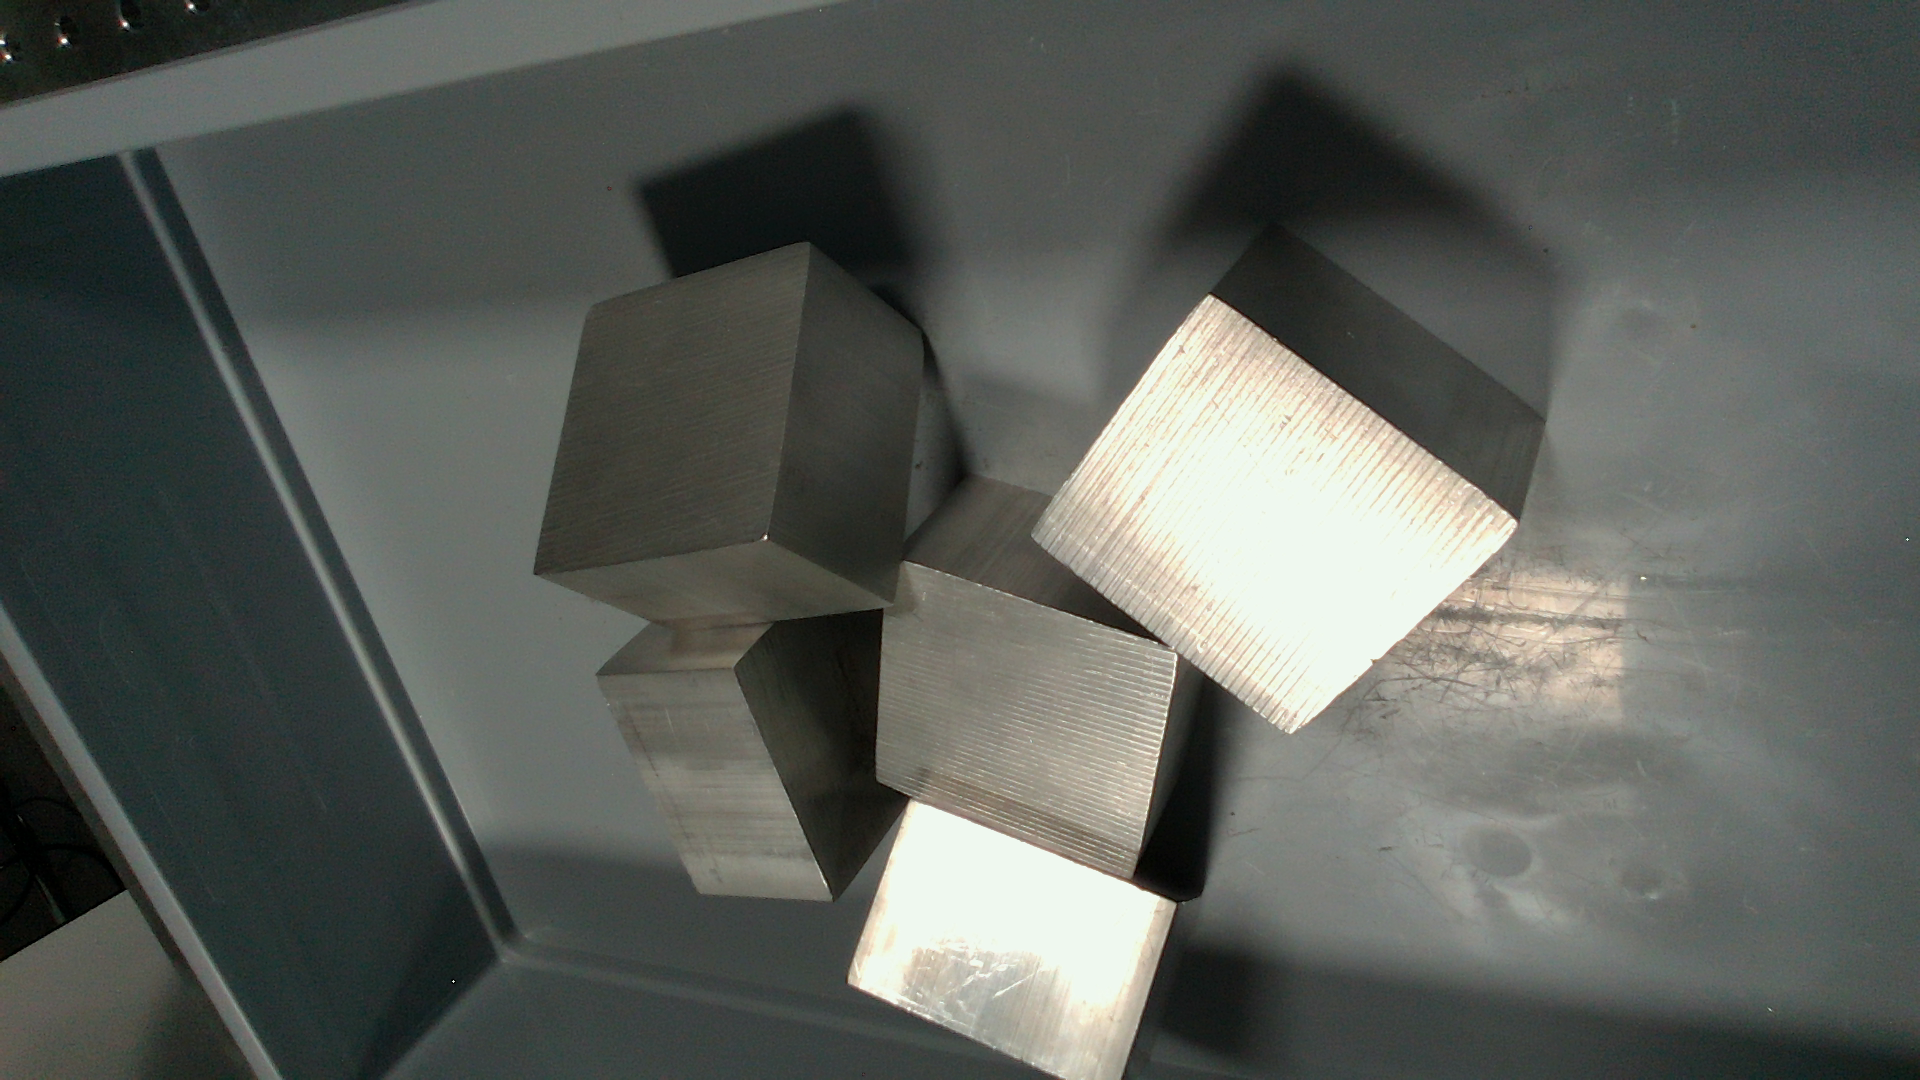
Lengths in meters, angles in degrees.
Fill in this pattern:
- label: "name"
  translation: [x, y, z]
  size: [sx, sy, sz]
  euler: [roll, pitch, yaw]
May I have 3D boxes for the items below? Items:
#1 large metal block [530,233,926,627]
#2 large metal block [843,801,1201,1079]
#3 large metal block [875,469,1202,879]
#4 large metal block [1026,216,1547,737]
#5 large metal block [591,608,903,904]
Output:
- label: "large metal block"
  translation: [-0.060, -0.025, 0.365]
  size: [0.080, 0.080, 0.050]
  euler: [-7, 157, 32]
- label: "large metal block"
  translation: [0.022, 0.116, 0.407]
  size: [0.080, 0.080, 0.050]
  euler: [17, 83, 17]
- label: "large metal block"
  translation: [0.025, 0.036, 0.386]
  size: [0.080, 0.050, 0.080]
  euler: [18, 126, 18]
- label: "large metal block"
  translation: [0.076, -0.014, 0.326]
  size: [0.080, 0.050, 0.080]
  euler: [37, 129, 3]
- label: "large metal block"
  translation: [-0.052, 0.050, 0.416]
  size: [0.050, 0.080, 0.080]
  euler: [-6, 116, 31]
